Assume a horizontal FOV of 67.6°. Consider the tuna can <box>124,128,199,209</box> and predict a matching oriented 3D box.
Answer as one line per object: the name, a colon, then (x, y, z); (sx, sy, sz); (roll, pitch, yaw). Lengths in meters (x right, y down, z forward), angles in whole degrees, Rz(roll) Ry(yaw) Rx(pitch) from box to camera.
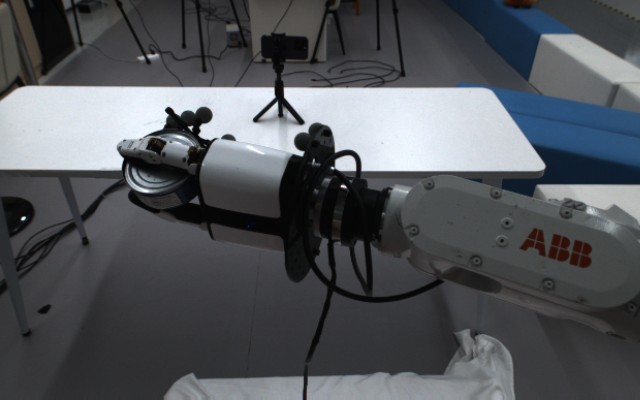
tuna can: (-0.163, -0.035, 0.521); (0.085, 0.034, 0.085); (-4, 56, 6)
